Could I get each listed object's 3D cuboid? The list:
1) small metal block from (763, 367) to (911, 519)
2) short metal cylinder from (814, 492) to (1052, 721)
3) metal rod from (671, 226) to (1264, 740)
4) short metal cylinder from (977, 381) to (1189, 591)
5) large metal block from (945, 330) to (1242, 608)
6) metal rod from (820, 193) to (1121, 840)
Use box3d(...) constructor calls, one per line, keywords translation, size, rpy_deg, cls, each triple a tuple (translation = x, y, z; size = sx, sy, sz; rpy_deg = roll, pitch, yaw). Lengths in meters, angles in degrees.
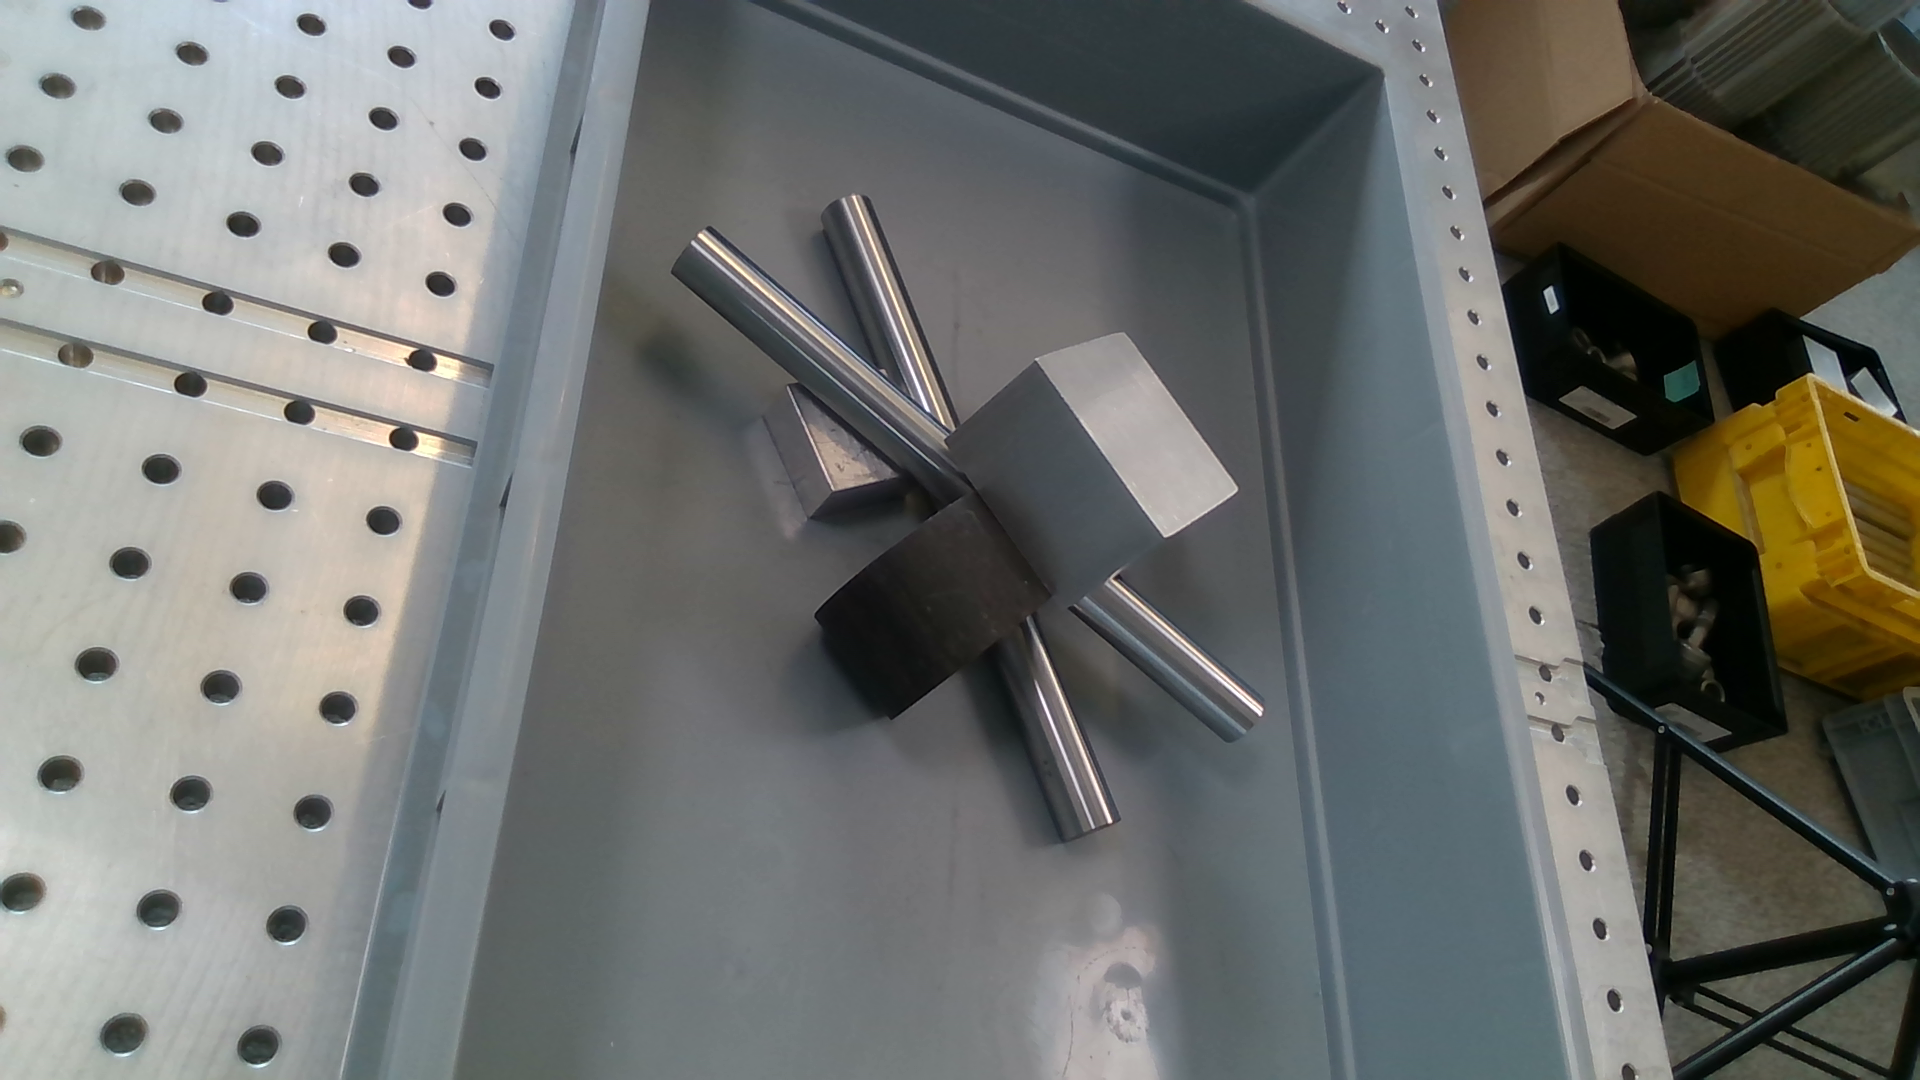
box3d(translation=(-0.048, -0.041, 0.578), size=(0.050, 0.025, 0.050), rpy_deg=(-16, 74, -36), cls="small metal block")
box3d(translation=(-0.010, 0.025, 0.531), size=(0.080, 0.080, 0.050), rpy_deg=(-34, 85, -39), cls="short metal cylinder")
box3d(translation=(0.007, -0.020, 0.568), size=(0.300, 0.025, 0.025), rpy_deg=(40, 51, -8), cls="metal rod")
box3d(translation=(0.055, -0.024, 0.615), size=(0.080, 0.050, 0.080), rpy_deg=(14, 59, -25), cls="short metal cylinder")
box3d(translation=(0.054, -0.030, 0.536), size=(0.080, 0.050, 0.080), rpy_deg=(55, 34, 6), cls="large metal block")
box3d(translation=(0.000, -0.018, 0.595), size=(0.025, 0.025, 0.299), rpy_deg=(-11, 71, -35), cls="metal rod")
